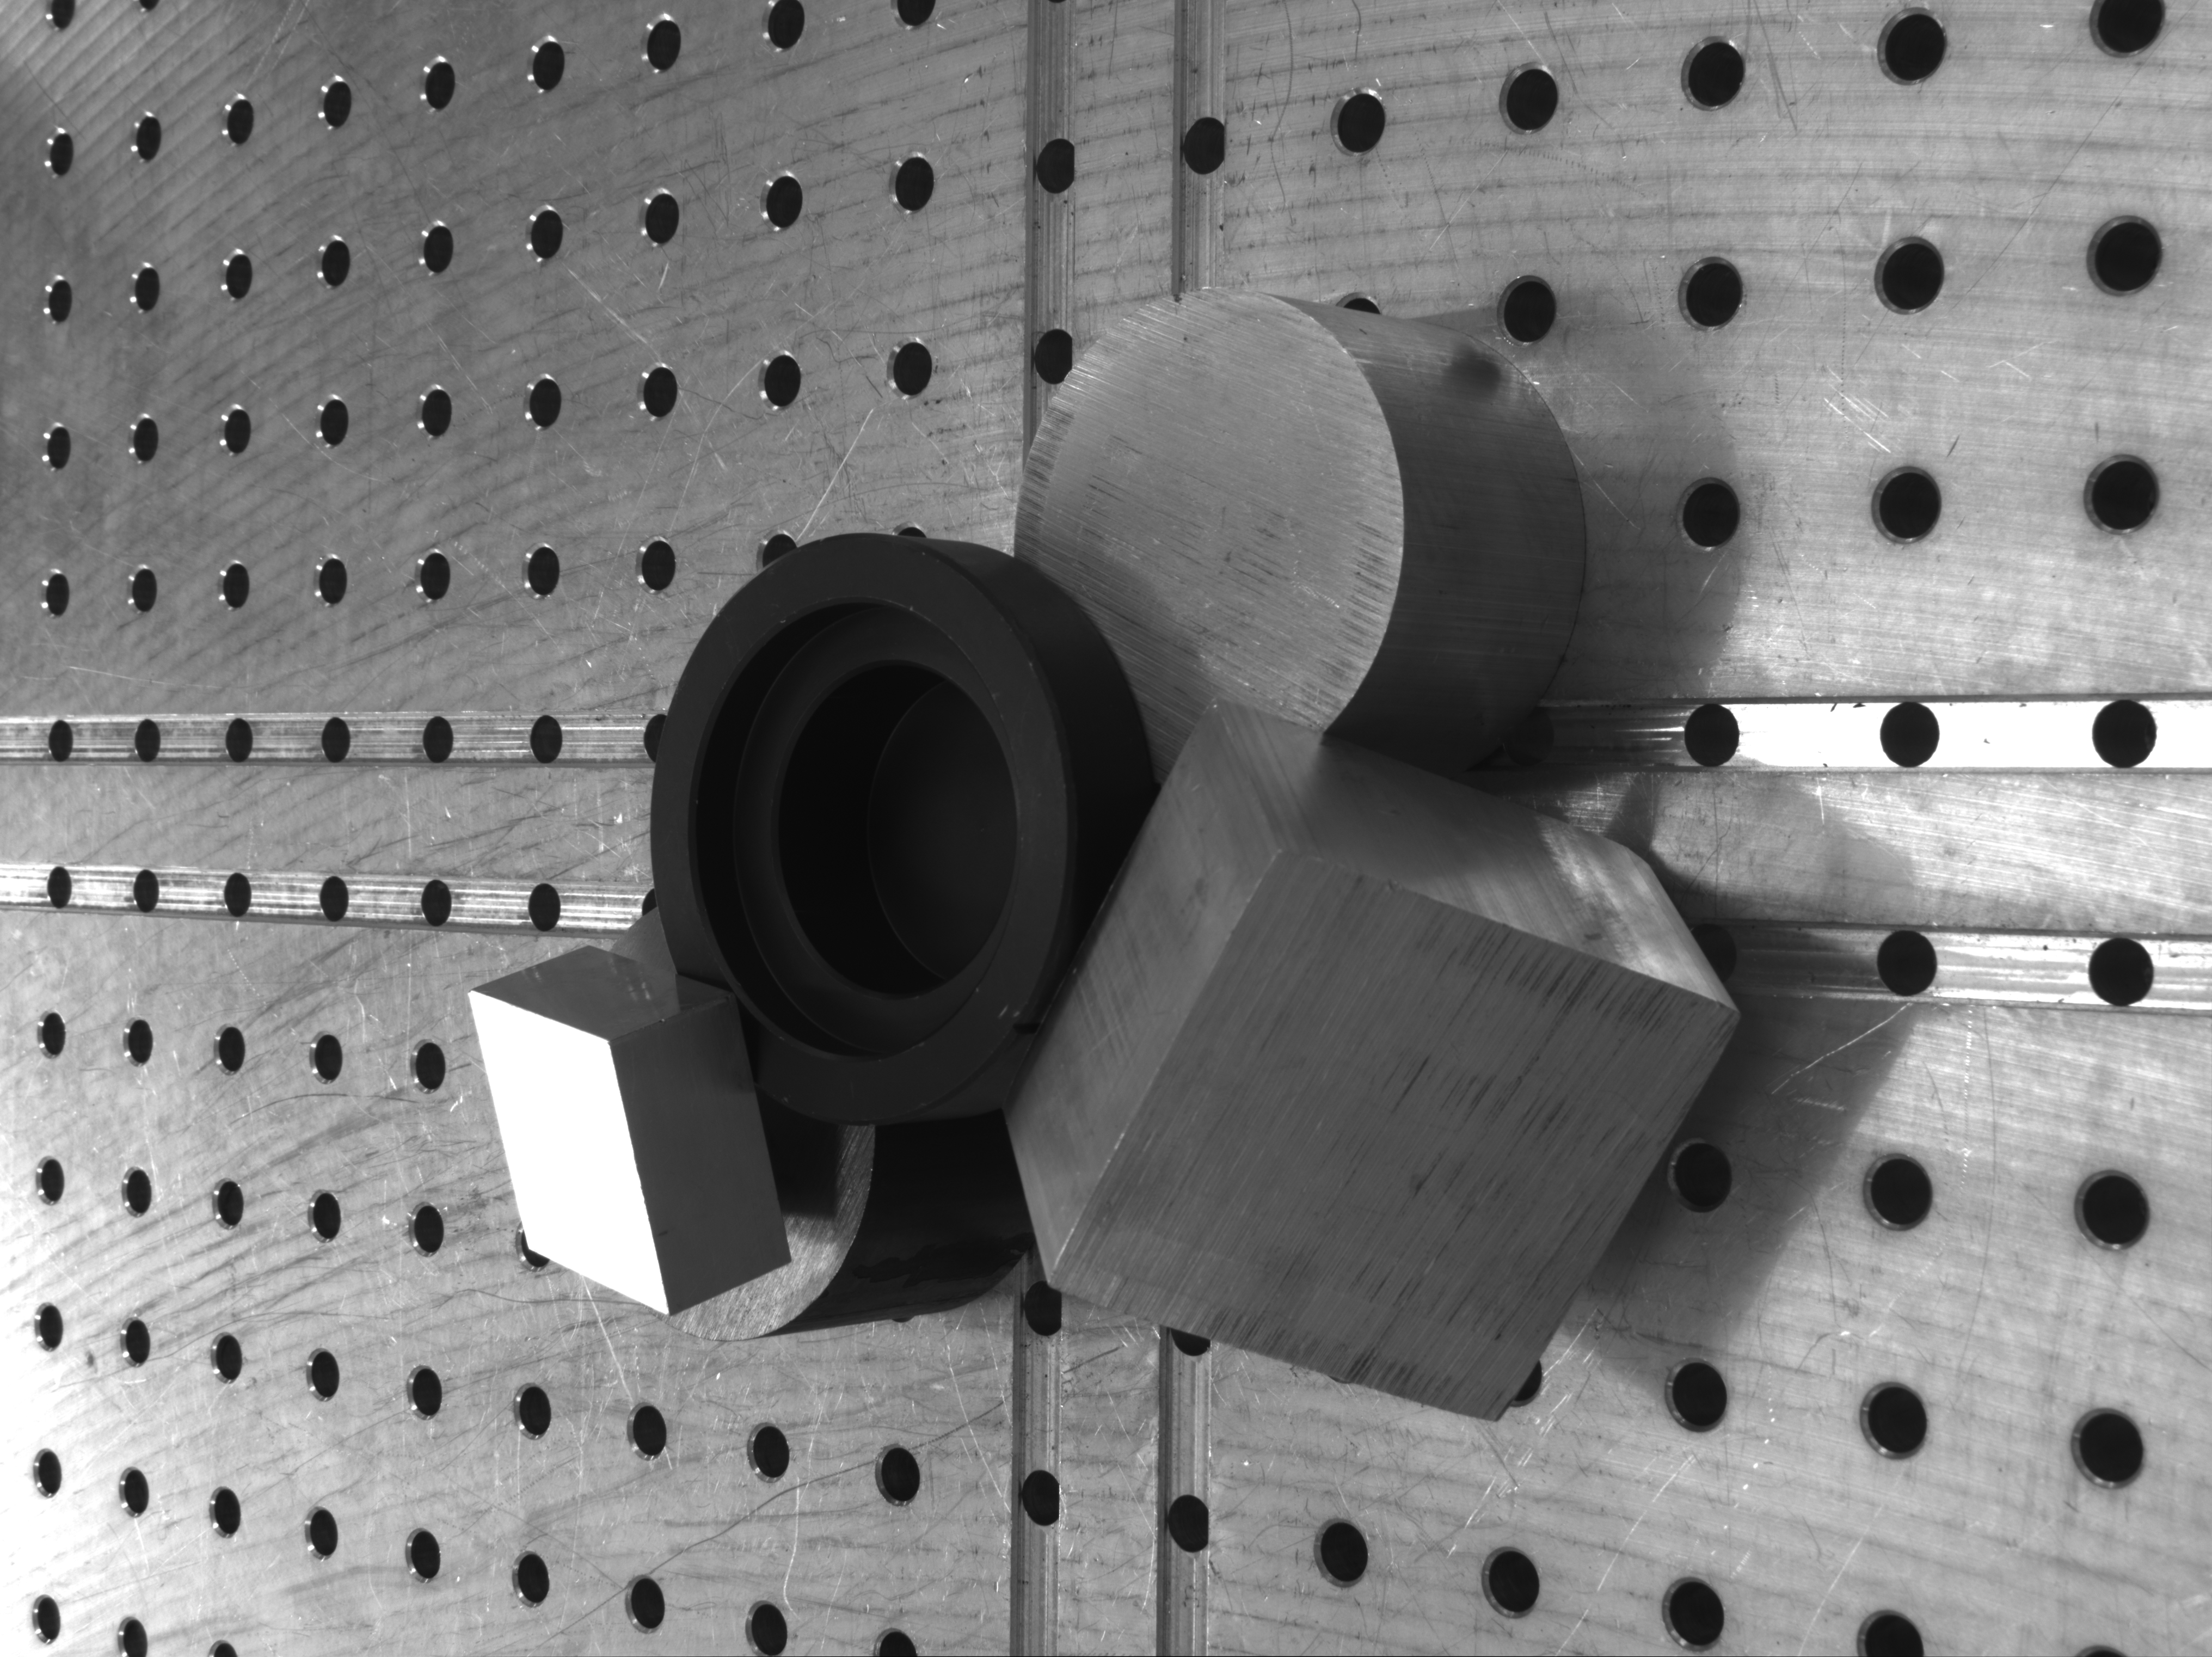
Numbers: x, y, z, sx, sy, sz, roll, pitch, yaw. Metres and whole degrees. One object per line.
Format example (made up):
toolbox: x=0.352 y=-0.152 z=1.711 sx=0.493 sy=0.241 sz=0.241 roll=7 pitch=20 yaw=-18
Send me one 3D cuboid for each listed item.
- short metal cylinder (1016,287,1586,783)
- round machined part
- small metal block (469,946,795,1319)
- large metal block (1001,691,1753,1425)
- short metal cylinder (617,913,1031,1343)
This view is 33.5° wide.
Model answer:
short metal cylinder: x=0.032 y=-0.046 z=0.606 sx=0.080 sy=0.050 sz=0.080 roll=0 pitch=90 yaw=40
round machined part: x=-0.029 y=0.000 z=0.624 sx=0.098 sy=0.042 sz=0.098 roll=0 pitch=90 yaw=40
small metal block: x=-0.082 y=0.052 z=0.636 sx=0.050 sy=0.025 sz=0.050 roll=13 pitch=118 yaw=52
large metal block: x=0.040 y=0.036 z=0.570 sx=0.080 sy=0.080 sz=0.050 roll=-63 pitch=21 yaw=21
short metal cylinder: x=-0.054 y=0.052 z=0.677 sx=0.080 sy=0.050 sz=0.080 roll=0 pitch=90 yaw=40
